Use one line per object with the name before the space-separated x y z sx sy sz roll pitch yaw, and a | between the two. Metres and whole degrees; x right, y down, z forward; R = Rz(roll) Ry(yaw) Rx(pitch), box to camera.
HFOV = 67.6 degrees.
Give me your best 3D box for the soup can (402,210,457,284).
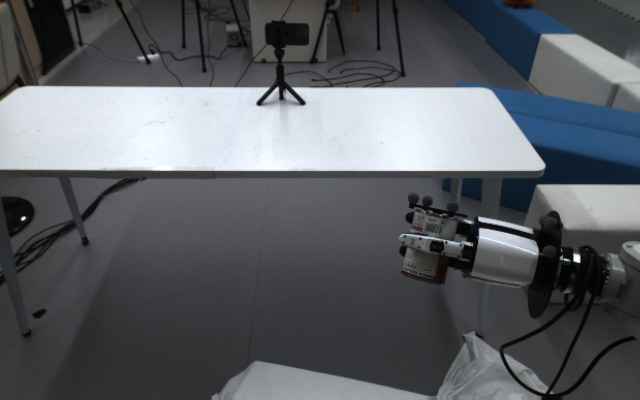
soup can | 0.169 0.069 0.738 0.067 0.101 0.067 12 2 0
